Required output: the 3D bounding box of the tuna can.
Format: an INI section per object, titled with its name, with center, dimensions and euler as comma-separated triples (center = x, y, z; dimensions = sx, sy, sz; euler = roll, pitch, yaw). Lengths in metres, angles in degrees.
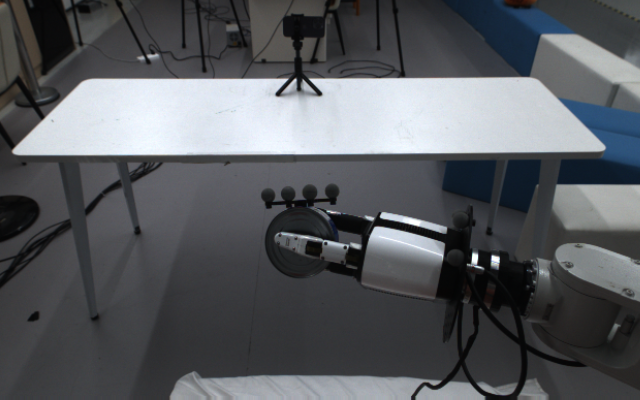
[tuna can]
center = -0.018, 0.054, 0.583
dimensions = 0.085, 0.085, 0.034
euler = 10, 3, 11
